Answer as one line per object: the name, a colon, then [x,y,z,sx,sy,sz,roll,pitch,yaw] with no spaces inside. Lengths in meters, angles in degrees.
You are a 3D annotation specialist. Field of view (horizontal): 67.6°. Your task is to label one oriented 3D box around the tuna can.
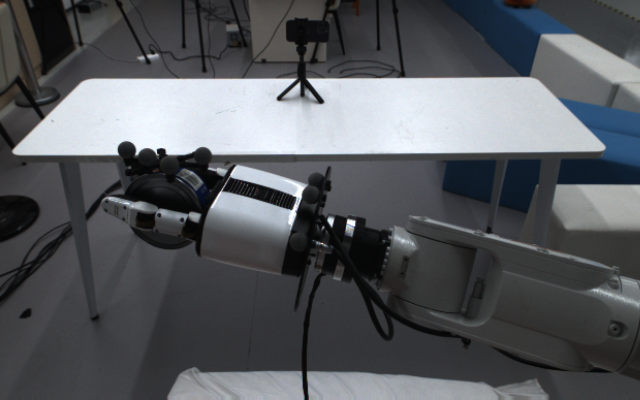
tuna can: [-0.156,0.008,0.508,0.085,0.085,0.034,6,22,6]
